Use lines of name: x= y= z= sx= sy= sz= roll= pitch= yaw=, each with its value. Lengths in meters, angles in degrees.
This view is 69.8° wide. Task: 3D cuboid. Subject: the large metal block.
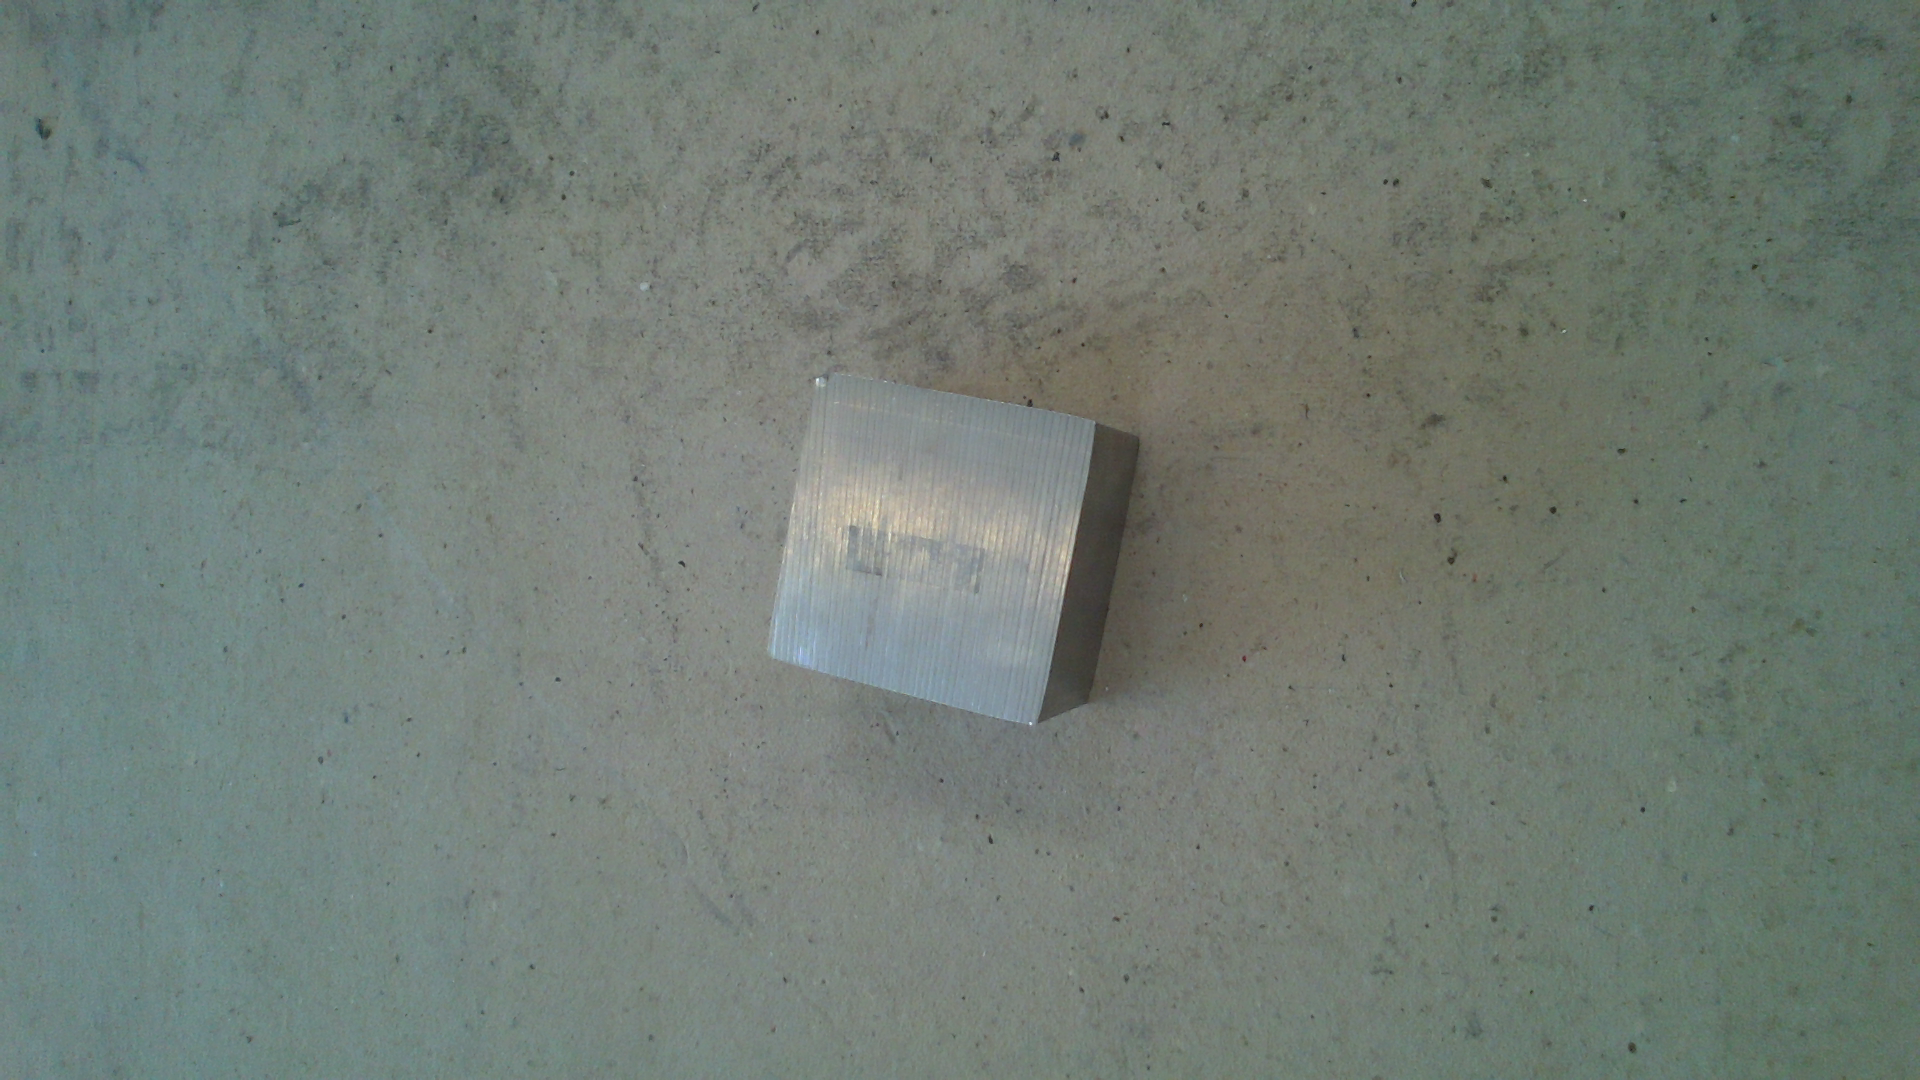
large metal block: x=-0.001 y=0.001 z=0.383 sx=0.080 sy=0.050 sz=0.080 roll=12 pitch=94 yaw=18
